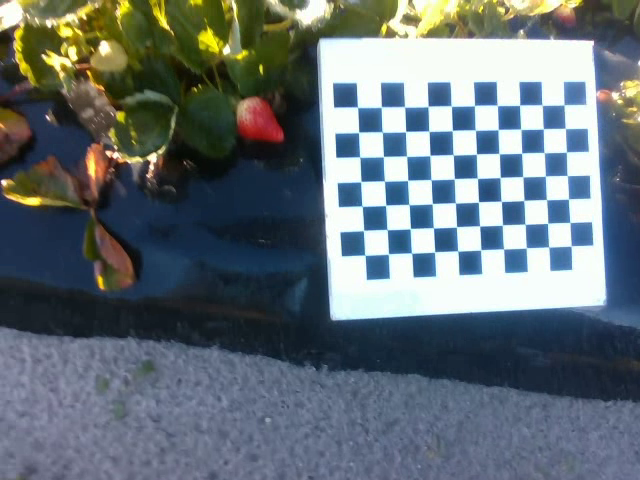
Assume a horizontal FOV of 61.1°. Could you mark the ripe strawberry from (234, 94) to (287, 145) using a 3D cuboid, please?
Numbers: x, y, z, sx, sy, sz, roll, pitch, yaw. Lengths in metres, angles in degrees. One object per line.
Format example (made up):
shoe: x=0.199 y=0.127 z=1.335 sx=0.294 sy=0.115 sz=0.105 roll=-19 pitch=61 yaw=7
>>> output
ripe strawberry: x=-0.062 y=-0.121 z=0.573 sx=0.065 sy=0.040 sz=0.040 roll=38 pitch=-9 yaw=-3
